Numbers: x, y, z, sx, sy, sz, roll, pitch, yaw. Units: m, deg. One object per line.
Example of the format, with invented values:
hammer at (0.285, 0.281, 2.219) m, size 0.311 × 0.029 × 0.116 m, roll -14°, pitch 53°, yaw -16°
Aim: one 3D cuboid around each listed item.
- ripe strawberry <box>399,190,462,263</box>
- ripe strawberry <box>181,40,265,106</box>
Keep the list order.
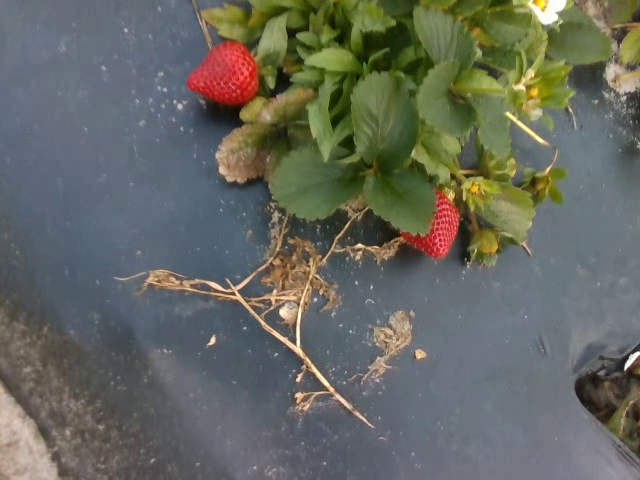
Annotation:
ripe strawberry at (0.070, -0.008, 0.391) m, size 0.043 × 0.046 × 0.047 m, roll -13°, pitch -31°, yaw 3°
ripe strawberry at (-0.062, -0.102, 0.383) m, size 0.050 × 0.043 × 0.042 m, roll -27°, pitch -2°, yaw -23°
